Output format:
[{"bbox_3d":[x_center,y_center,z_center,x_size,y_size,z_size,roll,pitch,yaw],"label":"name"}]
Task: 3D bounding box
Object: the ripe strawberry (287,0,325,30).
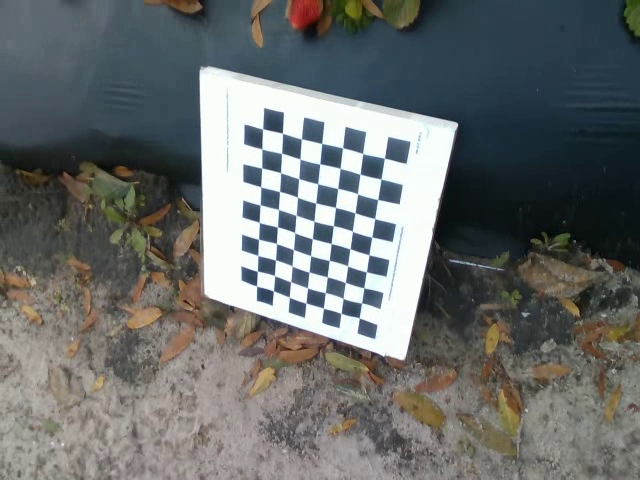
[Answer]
[{"bbox_3d":[-0.022,-0.219,0.844,0.040,0.042,0.037,24,-12,12],"label":"ripe strawberry"}]
